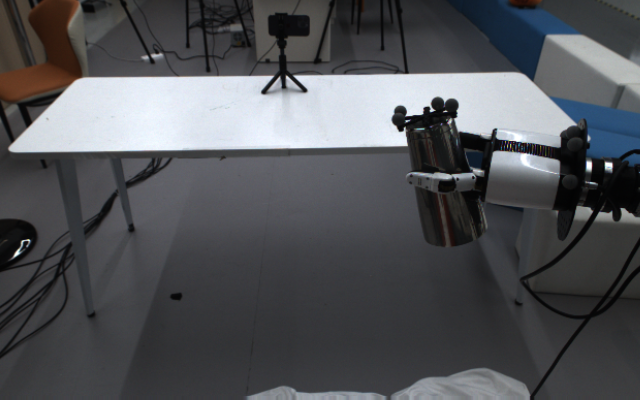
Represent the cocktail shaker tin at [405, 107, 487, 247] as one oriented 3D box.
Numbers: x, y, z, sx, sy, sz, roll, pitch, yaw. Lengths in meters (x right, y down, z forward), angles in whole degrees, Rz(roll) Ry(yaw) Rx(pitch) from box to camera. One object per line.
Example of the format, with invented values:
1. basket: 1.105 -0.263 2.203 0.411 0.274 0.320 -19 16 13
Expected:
1. cocktail shaker tin: 0.173 -0.031 0.681 0.093 0.170 0.093 -17 20 7
